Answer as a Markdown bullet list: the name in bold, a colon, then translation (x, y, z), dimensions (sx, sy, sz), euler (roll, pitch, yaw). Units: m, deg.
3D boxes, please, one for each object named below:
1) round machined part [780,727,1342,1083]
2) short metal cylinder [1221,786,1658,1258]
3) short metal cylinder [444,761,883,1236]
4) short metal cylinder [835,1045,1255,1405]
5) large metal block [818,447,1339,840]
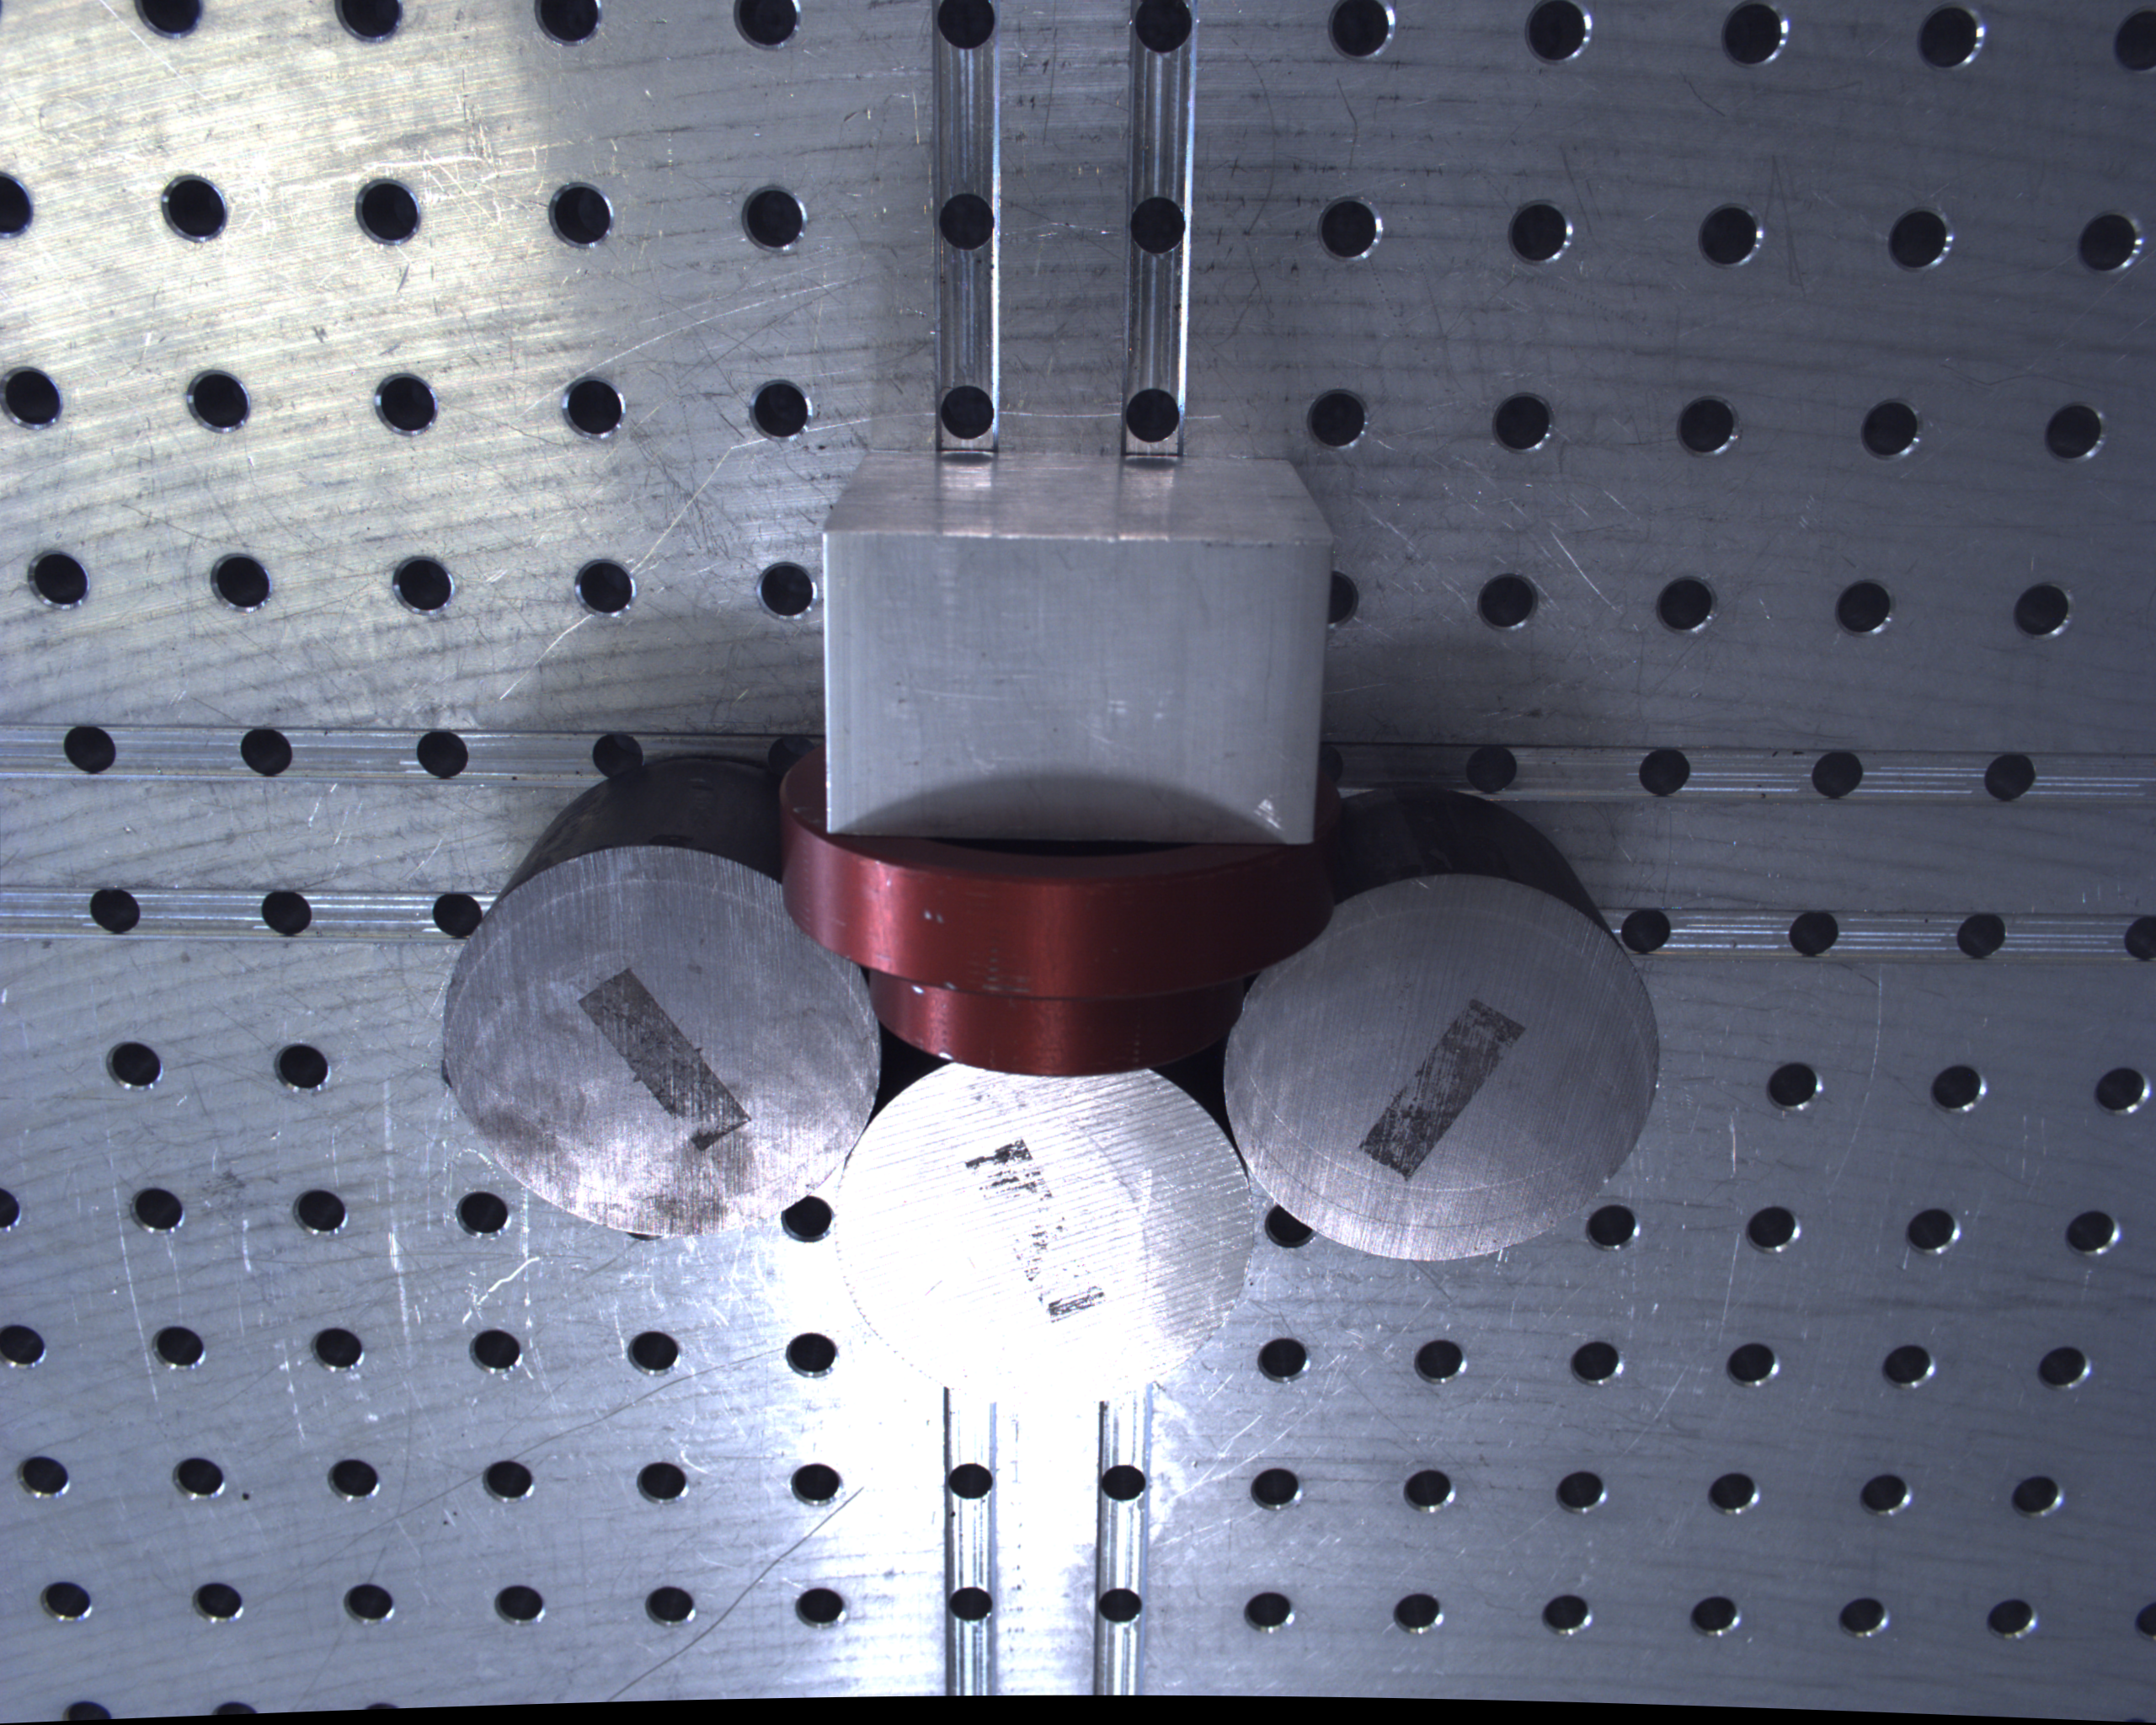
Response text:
- **round machined part**: translation (-0.003, 0.006, 0.375), dimensions (0.099, 0.098, 0.042), euler (2, 110, -1)
- **short metal cylinder**: translation (0.068, 0.030, 0.412), dimensions (0.081, 0.050, 0.079), euler (0, 110, 0)
- **short metal cylinder**: translation (-0.077, 0.026, 0.409), dimensions (0.081, 0.050, 0.079), euler (0, 110, 0)
- **short metal cylinder**: translation (-0.006, 0.062, 0.423), dimensions (0.081, 0.050, 0.079), euler (0, 110, 0)
- **large metal block**: translation (0.000, -0.041, 0.368), dimensions (0.081, 0.080, 0.050), euler (1, 110, -1)
